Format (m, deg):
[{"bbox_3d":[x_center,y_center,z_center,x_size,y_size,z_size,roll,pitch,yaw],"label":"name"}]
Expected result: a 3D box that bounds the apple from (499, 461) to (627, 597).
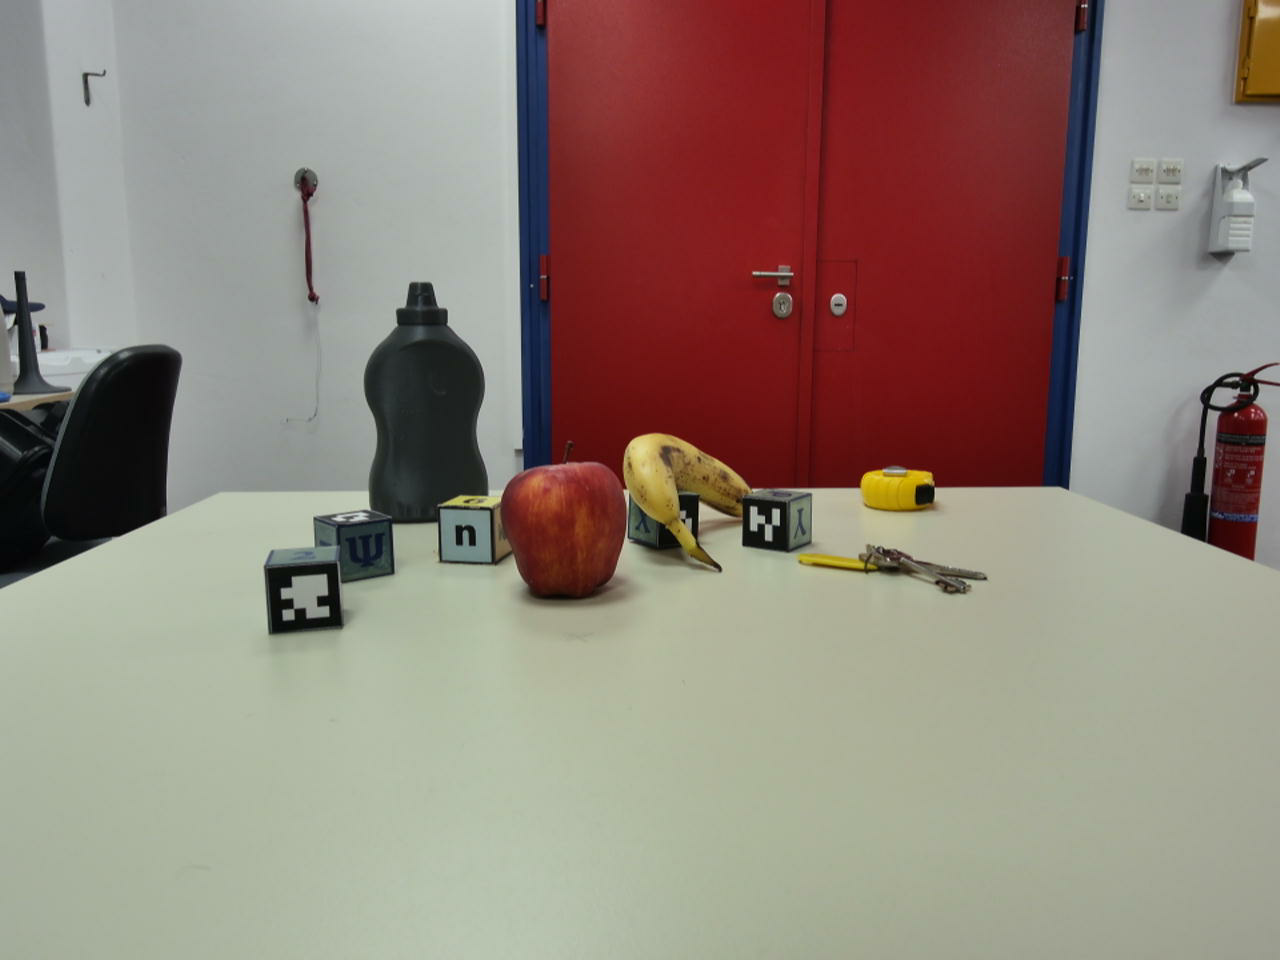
[{"bbox_3d":[-0.047,0.023,0.599,0.083,0.090,0.083,2,7,0],"label":"apple"}]
